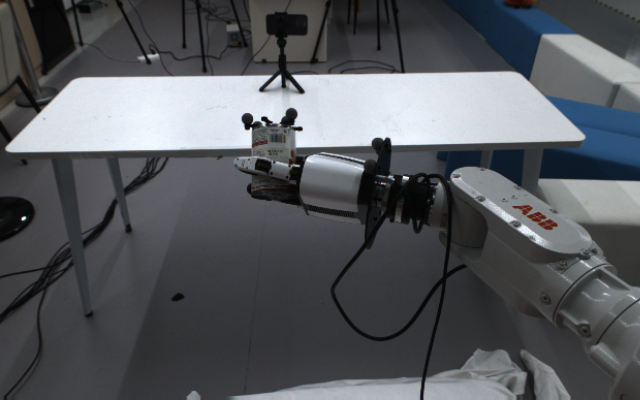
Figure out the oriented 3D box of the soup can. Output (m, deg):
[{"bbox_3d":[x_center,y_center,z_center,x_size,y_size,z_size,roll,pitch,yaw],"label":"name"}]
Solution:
[{"bbox_3d":[-0.068,-0.054,0.714,0.067,0.101,0.067,-1,-9,0],"label":"soup can"}]
